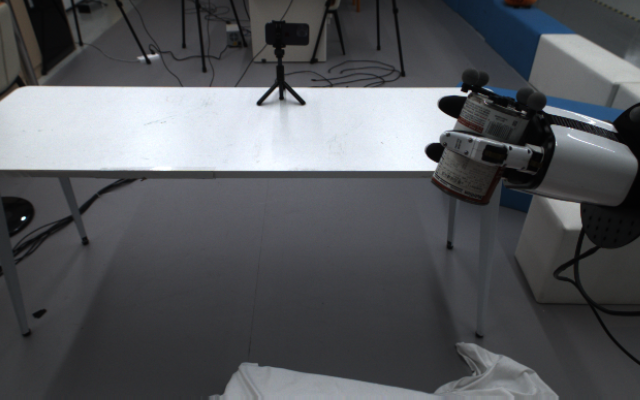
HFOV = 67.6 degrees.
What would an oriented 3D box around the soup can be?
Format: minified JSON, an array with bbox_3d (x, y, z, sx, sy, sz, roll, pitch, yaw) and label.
[{"bbox_3d":[0.170,-0.056,0.517,0.067,0.101,0.067,17,21,-7],"label":"soup can"}]
